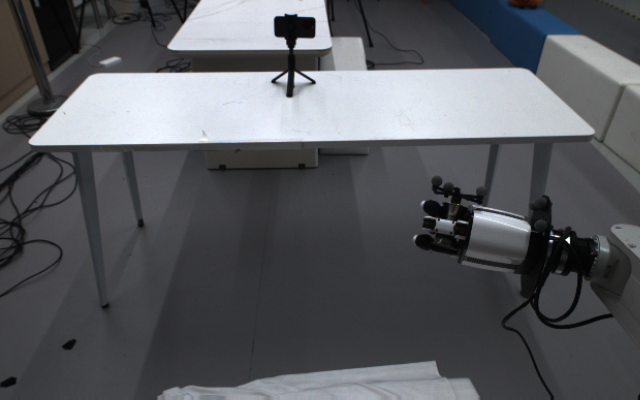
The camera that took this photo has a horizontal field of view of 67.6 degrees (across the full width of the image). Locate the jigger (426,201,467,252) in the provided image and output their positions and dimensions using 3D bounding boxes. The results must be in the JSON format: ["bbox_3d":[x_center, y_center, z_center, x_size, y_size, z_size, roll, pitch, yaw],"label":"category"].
[{"bbox_3d":[0.208,0.040,0.768,0.043,0.071,0.043,16,-7,2],"label":"jigger"}]
